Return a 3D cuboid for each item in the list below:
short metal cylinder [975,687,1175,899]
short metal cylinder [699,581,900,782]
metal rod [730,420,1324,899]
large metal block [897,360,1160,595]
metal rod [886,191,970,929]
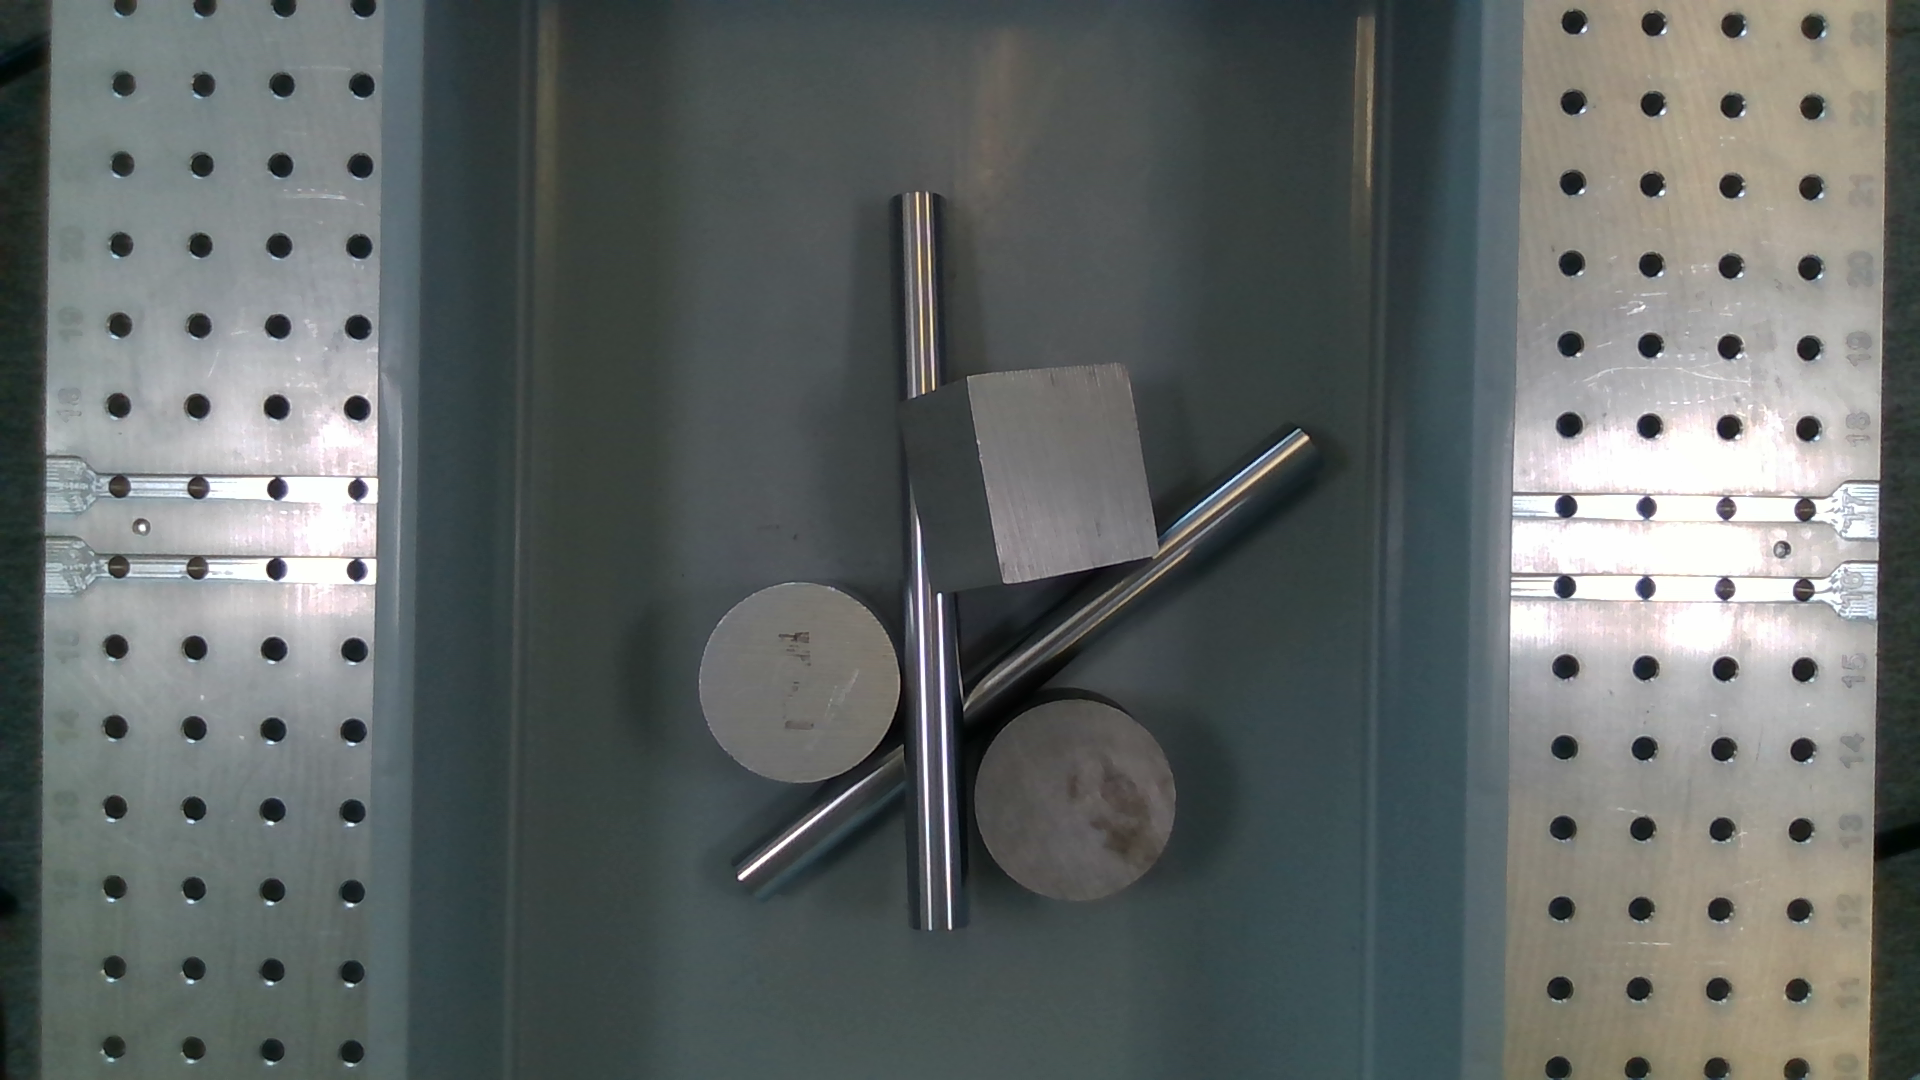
[{"bbox_3d":[0.046,0.104,0.575,0.080,0.050,0.080,0,90,0],"label":"short metal cylinder"},{"bbox_3d":[-0.064,0.056,0.574,0.080,0.050,0.080,0,90,0],"label":"short metal cylinder"},{"bbox_3d":[0.028,0.051,0.587,0.300,0.025,0.025,-38,90,0],"label":"metal rod"},{"bbox_3d":[0.028,-0.025,0.555,0.080,0.050,0.080,-10,90,-35],"label":"large metal block"},{"bbox_3d":[-0.014,0.005,0.569,0.025,0.025,0.300,-2,84,0],"label":"metal rod"}]
